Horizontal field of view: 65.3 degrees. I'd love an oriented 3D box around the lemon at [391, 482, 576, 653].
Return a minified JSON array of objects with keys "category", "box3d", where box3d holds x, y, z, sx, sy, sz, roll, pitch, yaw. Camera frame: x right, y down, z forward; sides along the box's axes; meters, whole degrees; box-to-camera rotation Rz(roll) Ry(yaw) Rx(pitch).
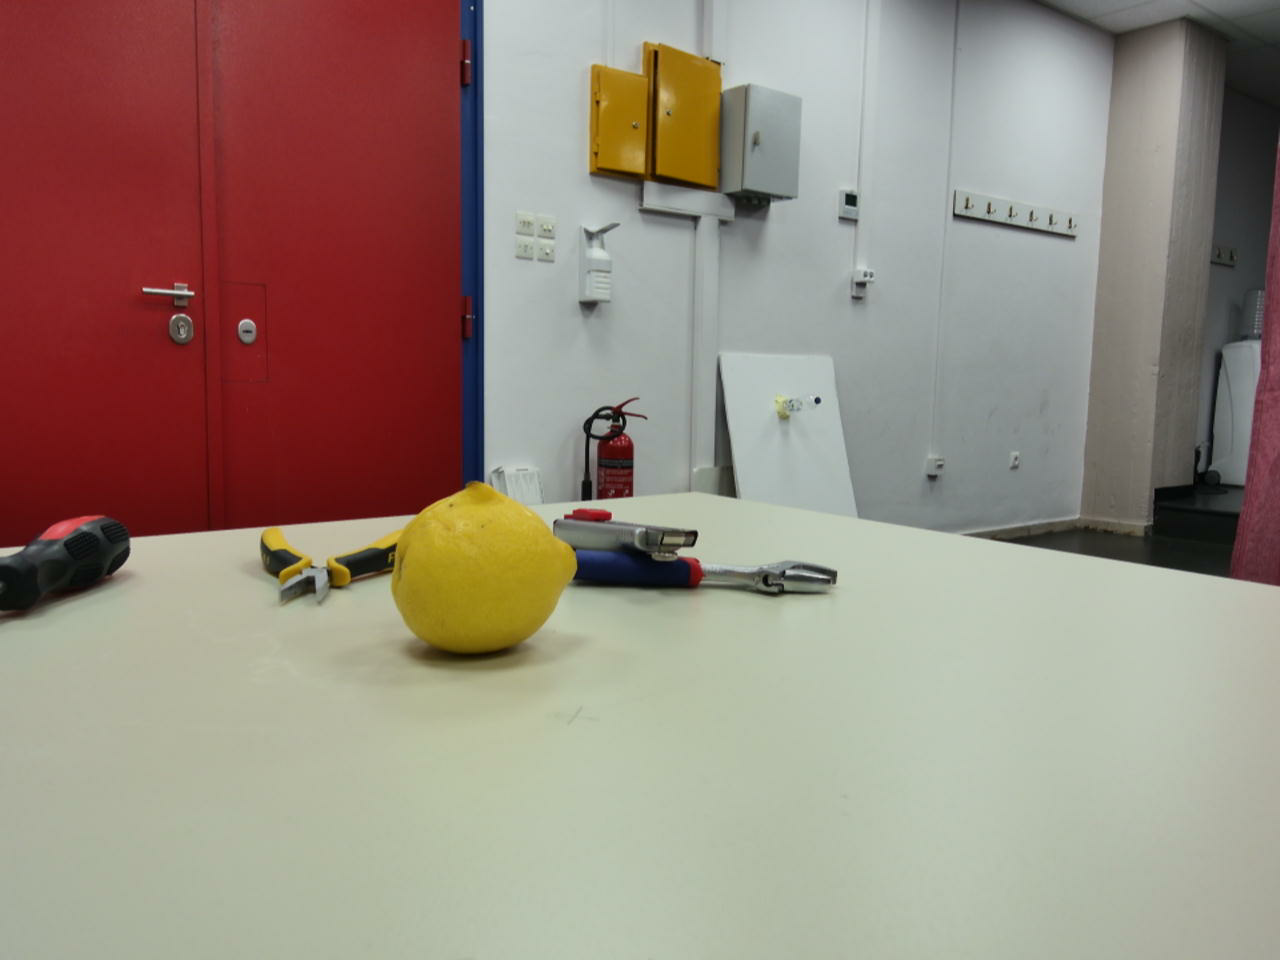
[{"category":"lemon","box3d":[-0.069,0.036,0.421,0.071,0.071,0.070,1,4,18]}]
